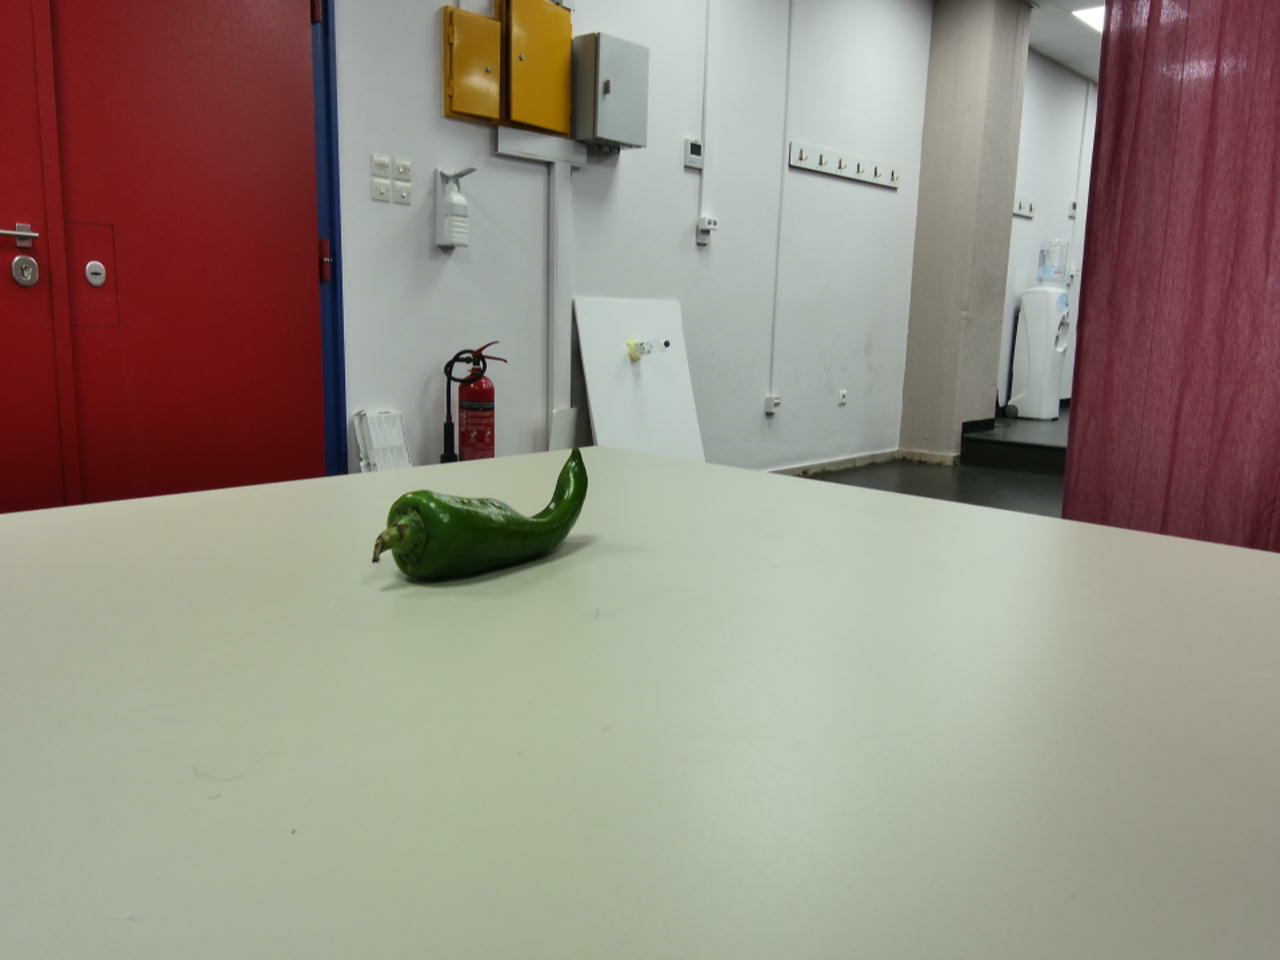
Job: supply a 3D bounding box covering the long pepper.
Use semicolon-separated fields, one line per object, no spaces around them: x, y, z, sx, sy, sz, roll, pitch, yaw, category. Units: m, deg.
-0.089;0.020;0.610;0.058;0.065;0.175;8;10;40;long pepper
